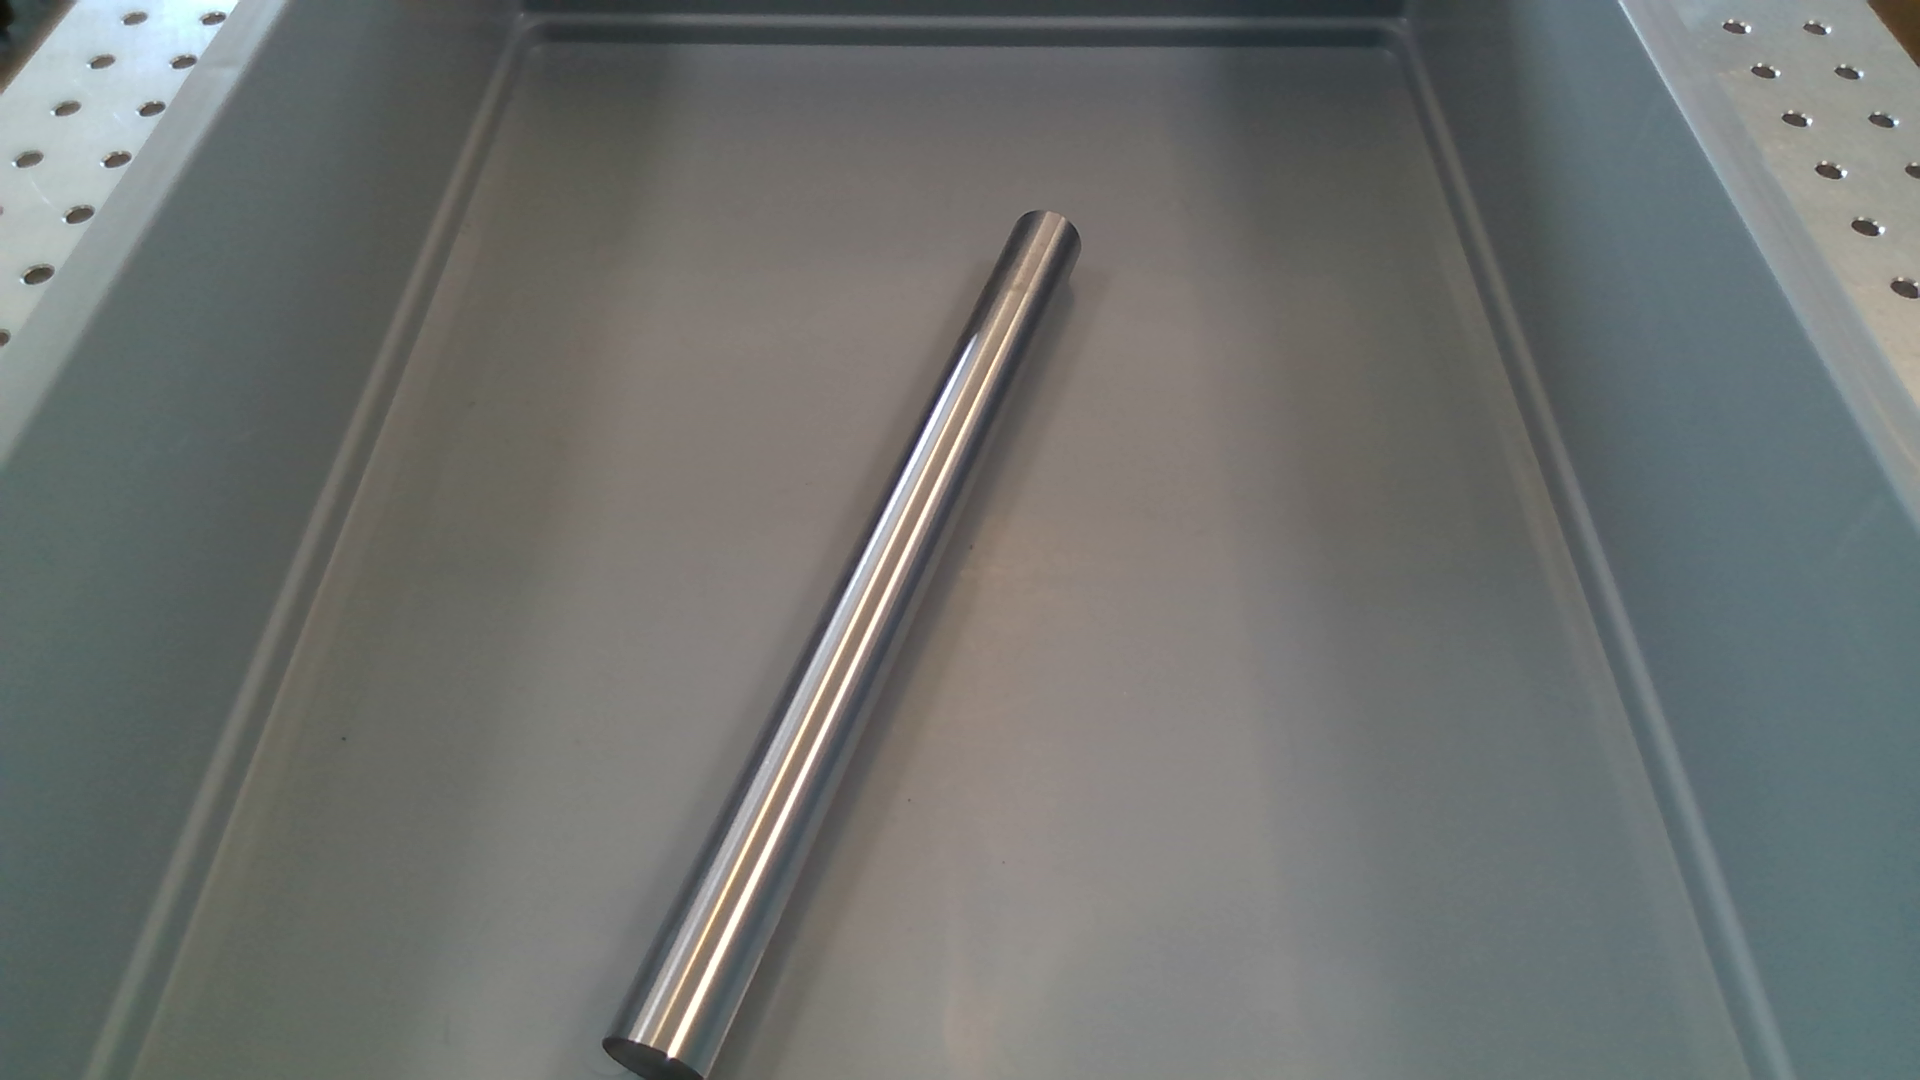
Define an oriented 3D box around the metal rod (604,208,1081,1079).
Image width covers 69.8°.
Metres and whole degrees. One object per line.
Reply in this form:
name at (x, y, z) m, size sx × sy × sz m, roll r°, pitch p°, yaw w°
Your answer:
metal rod at (-0.018, 0.004, 0.389) m, size 0.025 × 0.025 × 0.299 m, roll 15°, pitch 52°, yaw 12°
